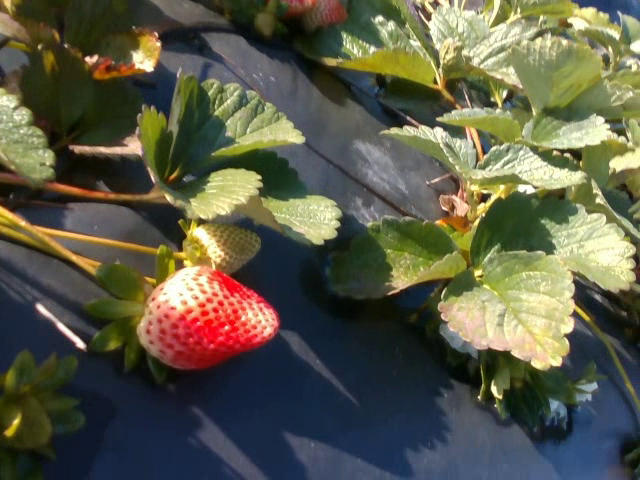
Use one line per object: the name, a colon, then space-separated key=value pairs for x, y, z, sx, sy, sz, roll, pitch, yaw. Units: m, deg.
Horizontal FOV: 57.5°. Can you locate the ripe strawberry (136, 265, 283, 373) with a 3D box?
ripe strawberry: x=-0.030 y=0.022 z=0.164 sx=0.045 sy=0.037 sz=0.042 roll=-3 pitch=8 yaw=26
